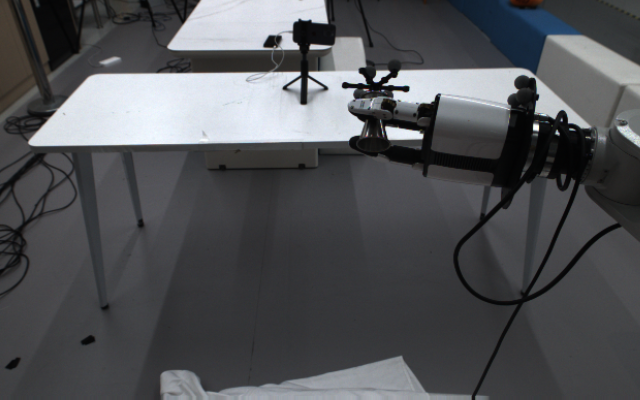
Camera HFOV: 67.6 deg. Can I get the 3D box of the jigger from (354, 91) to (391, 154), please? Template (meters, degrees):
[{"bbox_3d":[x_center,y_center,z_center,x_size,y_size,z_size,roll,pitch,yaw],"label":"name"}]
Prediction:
[{"bbox_3d":[0.068,-0.103,0.628,0.043,0.043,0.071,4,71,3],"label":"jigger"}]
